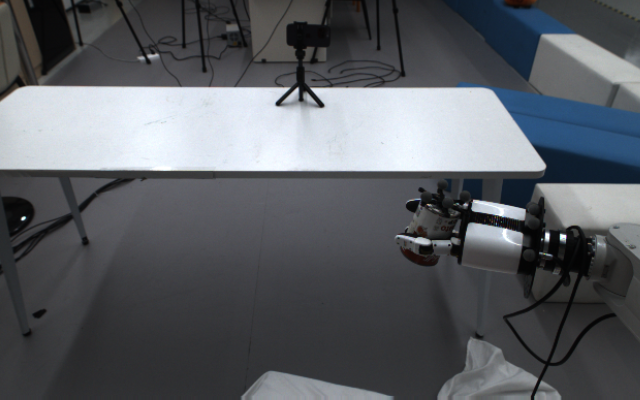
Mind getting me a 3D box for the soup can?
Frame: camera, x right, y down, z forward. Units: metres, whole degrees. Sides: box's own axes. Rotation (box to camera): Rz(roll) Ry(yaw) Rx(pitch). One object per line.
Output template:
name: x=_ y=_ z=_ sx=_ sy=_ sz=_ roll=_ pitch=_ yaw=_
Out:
soup can: x=0.180 y=0.047 z=0.790 sx=0.067 sy=0.101 sz=0.067 roll=13 pitch=30 yaw=-8
